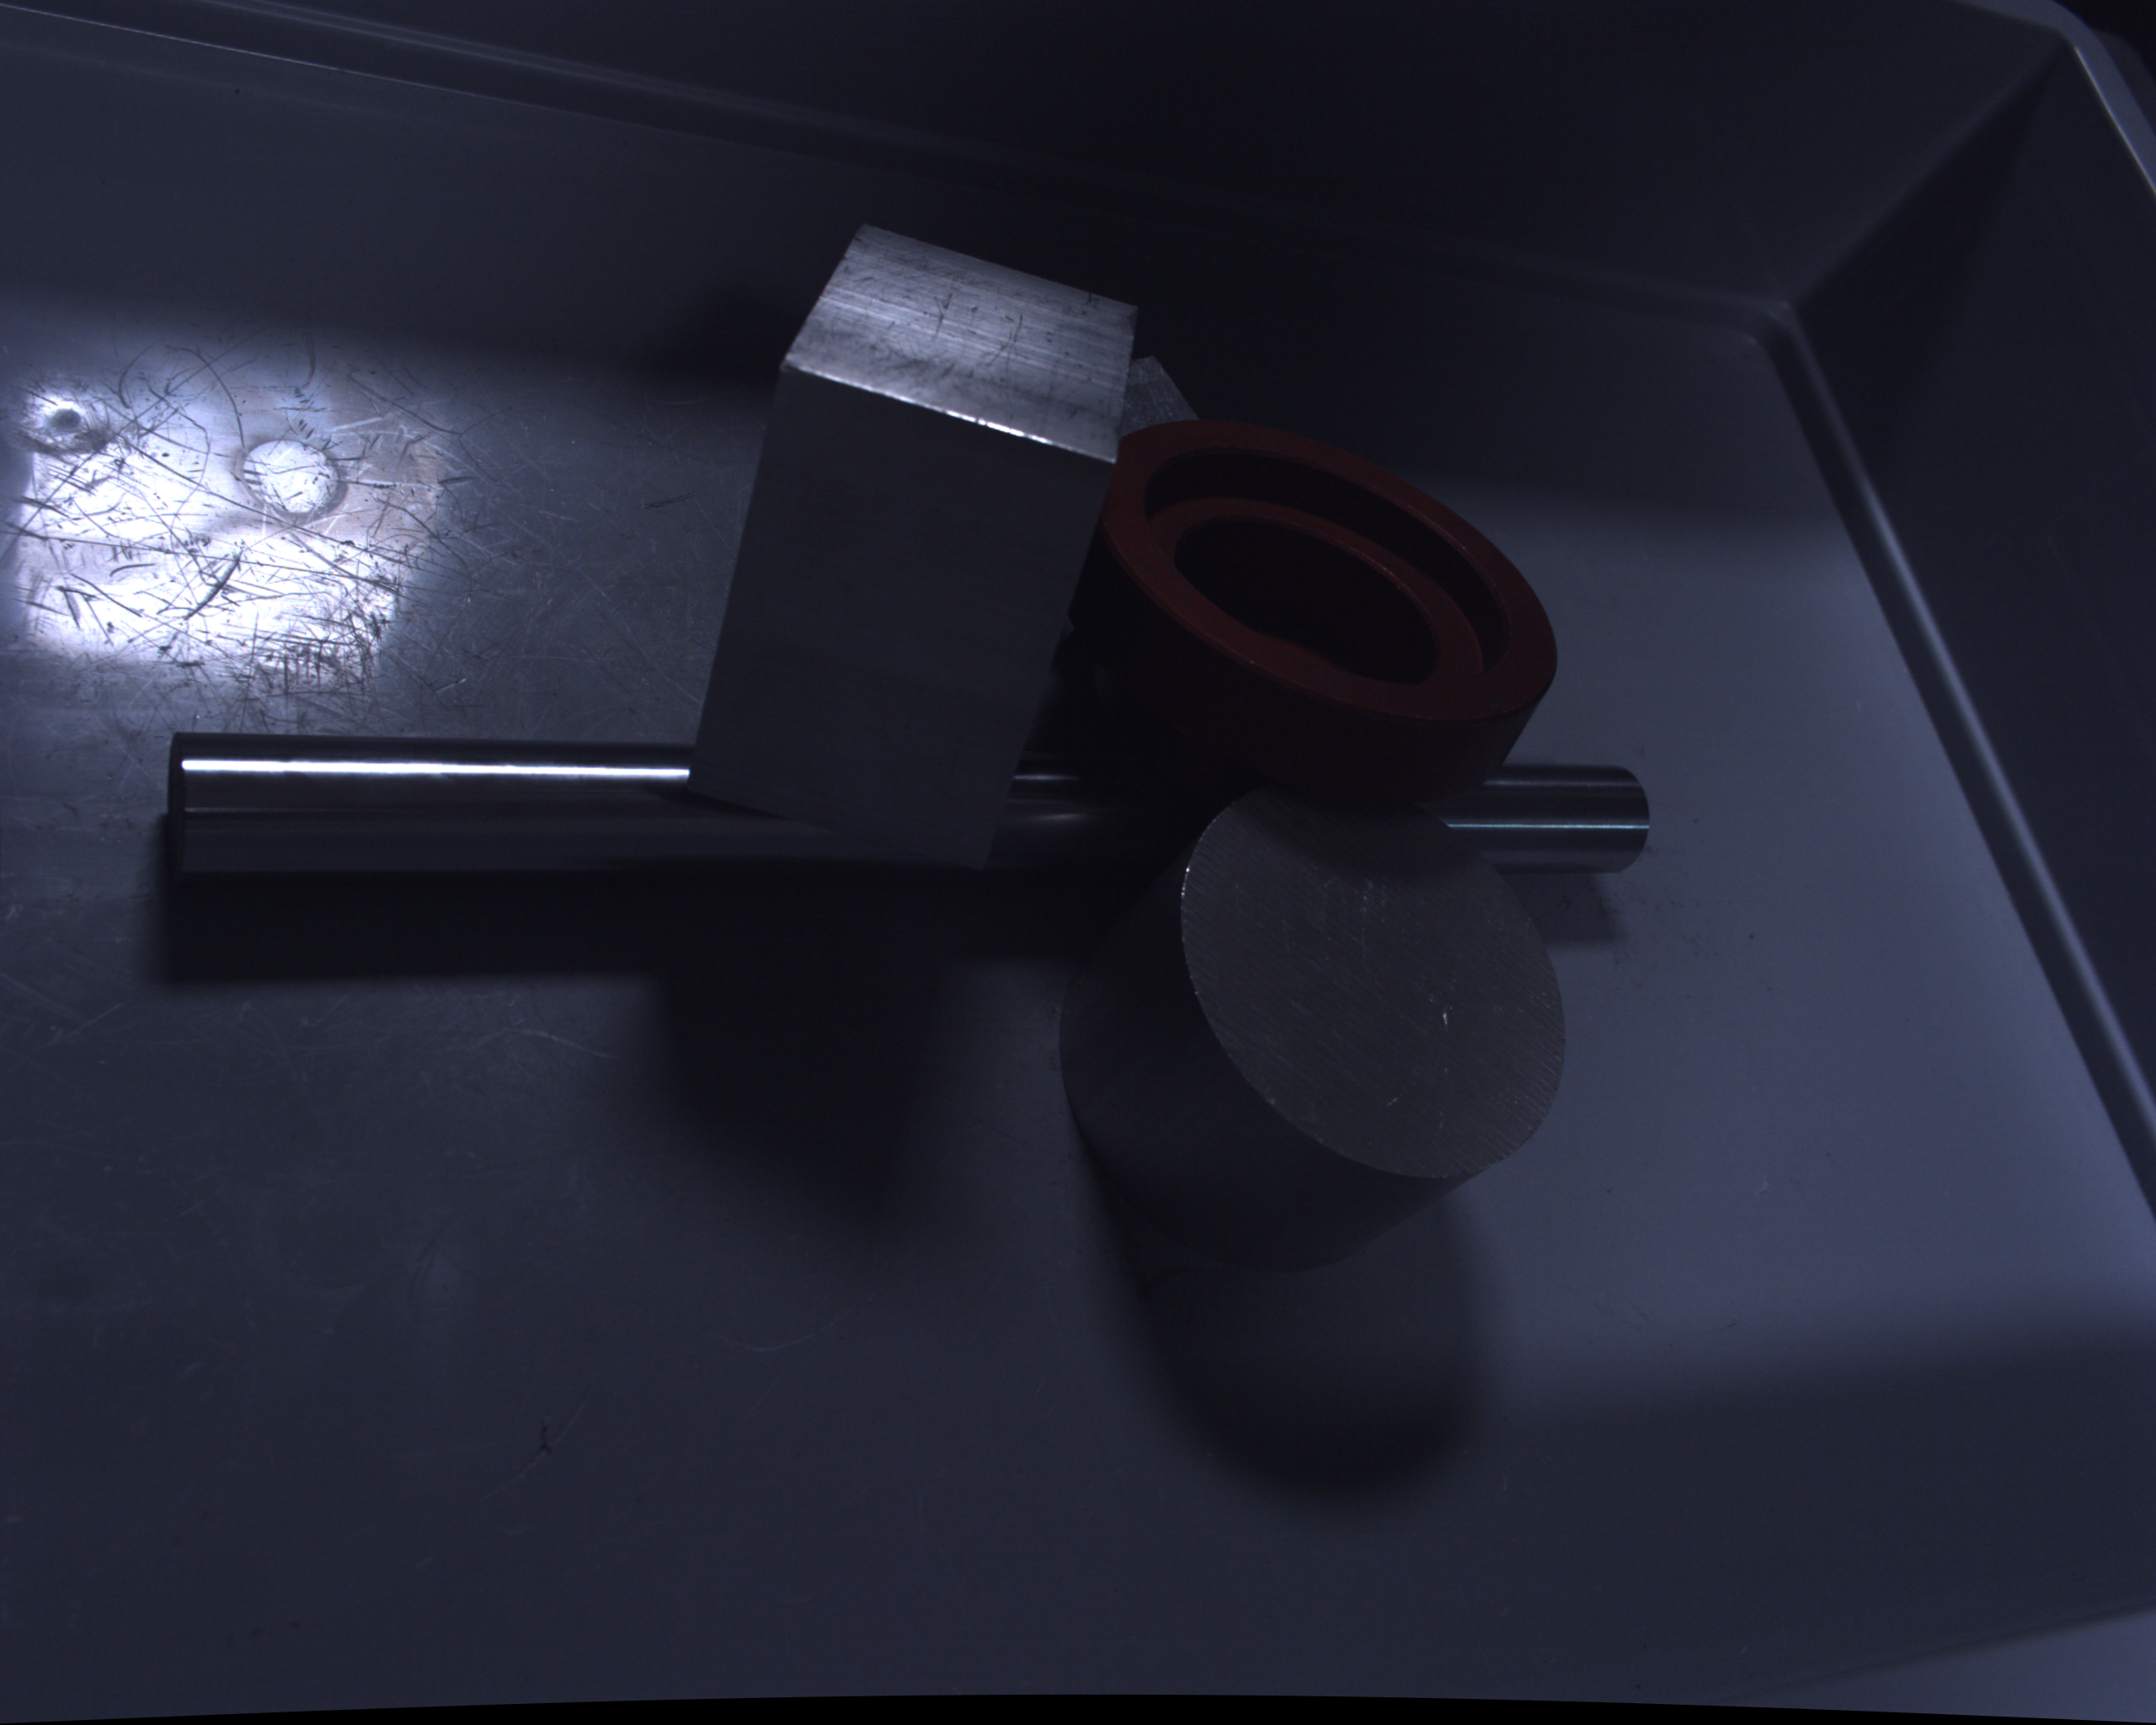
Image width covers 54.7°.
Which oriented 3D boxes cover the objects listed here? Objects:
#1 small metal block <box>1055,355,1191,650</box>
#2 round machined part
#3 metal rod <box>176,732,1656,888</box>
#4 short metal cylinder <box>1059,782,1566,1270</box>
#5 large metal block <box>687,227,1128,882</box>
[{"bbox_3d":[0.006,-0.080,0.458,0.050,0.025,0.050,-23,75,-37],"label":"small metal block"},{"bbox_3d":[0.042,-0.044,0.420,0.099,0.042,0.098,15,39,-12],"label":"round machined part"},{"bbox_3d":[-0.010,-0.009,0.403,0.303,0.025,0.025,0,62,-29],"label":"metal rod"},{"bbox_3d":[0.043,0.030,0.393,0.081,0.050,0.080,14,56,-21],"label":"short metal cylinder"},{"bbox_3d":[-0.029,-0.056,0.370,0.050,0.079,0.080,16,32,-6],"label":"large metal block"}]
